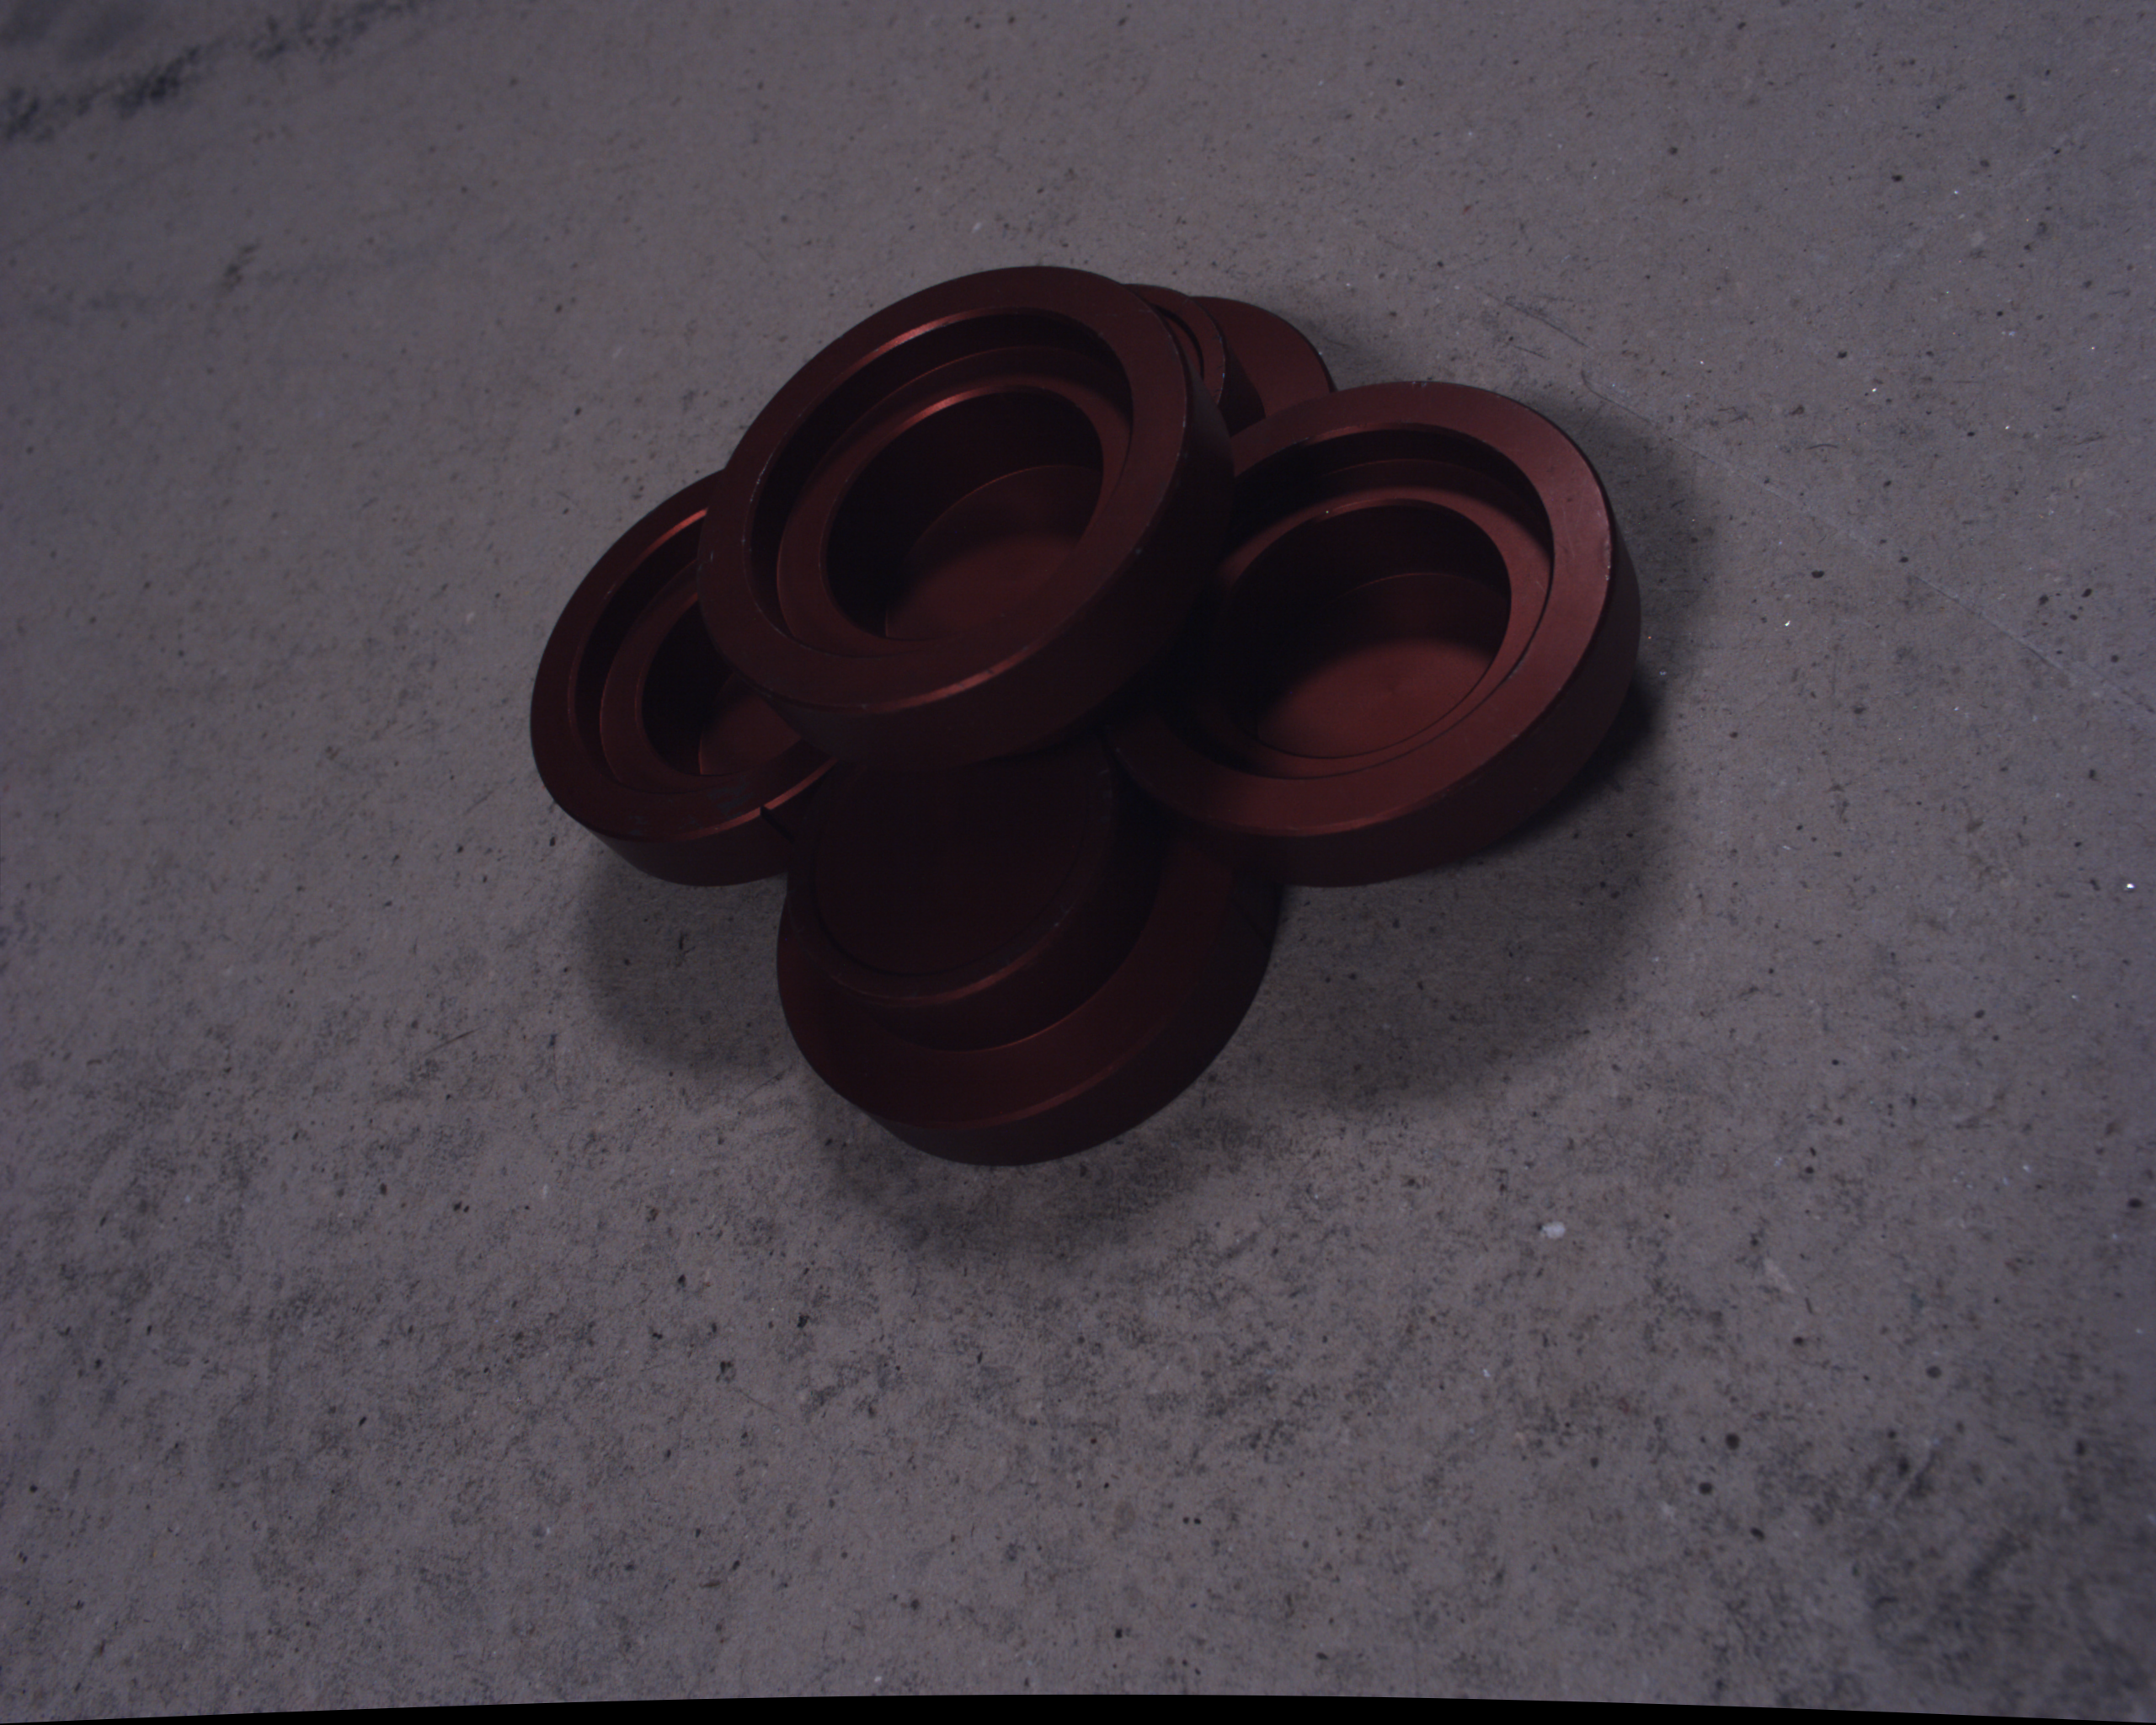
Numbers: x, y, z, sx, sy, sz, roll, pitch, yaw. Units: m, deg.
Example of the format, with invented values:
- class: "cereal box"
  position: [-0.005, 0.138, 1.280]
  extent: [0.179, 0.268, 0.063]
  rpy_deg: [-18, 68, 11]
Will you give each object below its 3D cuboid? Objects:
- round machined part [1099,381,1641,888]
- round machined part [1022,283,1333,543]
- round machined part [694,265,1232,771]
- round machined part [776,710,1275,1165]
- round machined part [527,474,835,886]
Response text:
- class: "round machined part"
  position: [0.055, -0.038, 0.388]
  extent: [0.098, 0.042, 0.098]
  rpy_deg: [-13, 56, 20]
- class: "round machined part"
  position: [0.007, -0.082, 0.440]
  extent: [0.098, 0.042, 0.098]
  rpy_deg: [-13, 56, 20]
- class: "round machined part"
  position: [-0.018, -0.059, 0.384]
  extent: [0.098, 0.042, 0.098]
  rpy_deg: [-13, 57, 21]
- class: "round machined part"
  position: [-0.016, 0.005, 0.398]
  extent: [0.098, 0.042, 0.098]
  rpy_deg: [-13, 56, 20]
- class: "round machined part"
  position: [-0.066, -0.038, 0.450]
  extent: [0.098, 0.042, 0.098]
  rpy_deg: [-13, 56, 20]
